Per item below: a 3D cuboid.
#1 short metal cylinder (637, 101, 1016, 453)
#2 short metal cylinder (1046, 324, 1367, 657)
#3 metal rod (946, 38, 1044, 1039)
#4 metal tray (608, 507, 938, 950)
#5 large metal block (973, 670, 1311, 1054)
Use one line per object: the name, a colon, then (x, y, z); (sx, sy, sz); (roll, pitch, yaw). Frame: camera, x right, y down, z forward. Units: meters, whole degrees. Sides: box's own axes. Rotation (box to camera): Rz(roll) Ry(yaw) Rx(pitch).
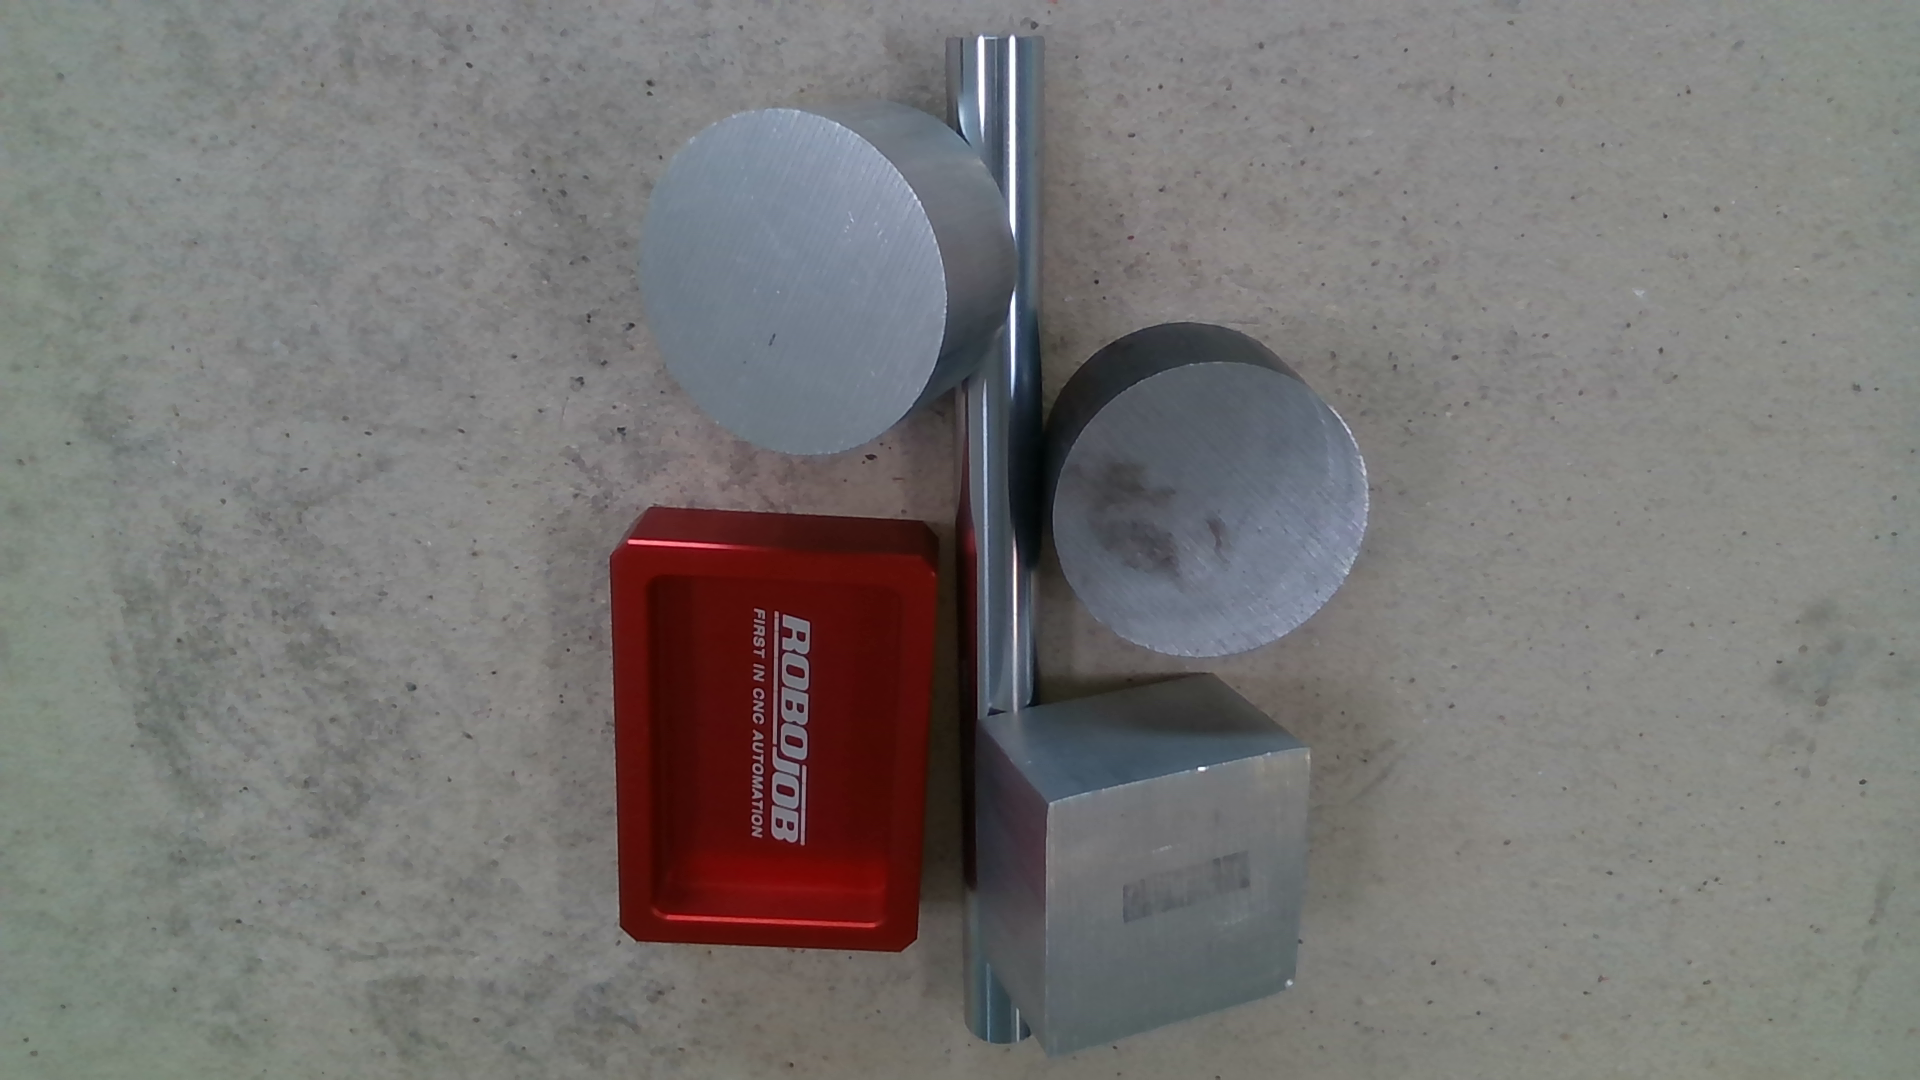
short metal cylinder: (-0.032, -0.067, 0.343); (0.080, 0.050, 0.080); (8, 112, 19)
short metal cylinder: (0.064, -0.015, 0.375); (0.080, 0.050, 0.080); (0, 110, -1)
metal rod: (0.011, 0.014, 0.400); (0.025, 0.025, 0.301); (-1, 110, 0)
metal tray: (-0.055, 0.058, 0.411); (0.090, 0.030, 0.130); (3, 110, -1)
large metal block: (0.051, 0.091, 0.401); (0.080, 0.050, 0.080); (-8, 111, -20)
